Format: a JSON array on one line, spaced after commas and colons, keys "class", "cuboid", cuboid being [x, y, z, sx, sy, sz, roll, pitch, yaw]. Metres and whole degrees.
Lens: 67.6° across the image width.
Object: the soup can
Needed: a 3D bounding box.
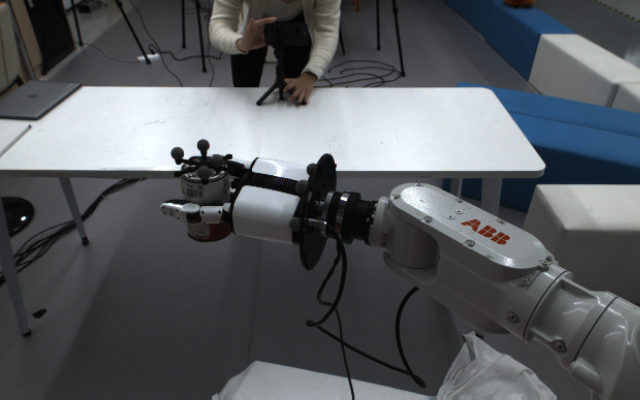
[{"class": "soup can", "cuboid": [-0.160, 0.002, 0.686, 0.067, 0.101, 0.067, 2, 32, -1]}]
